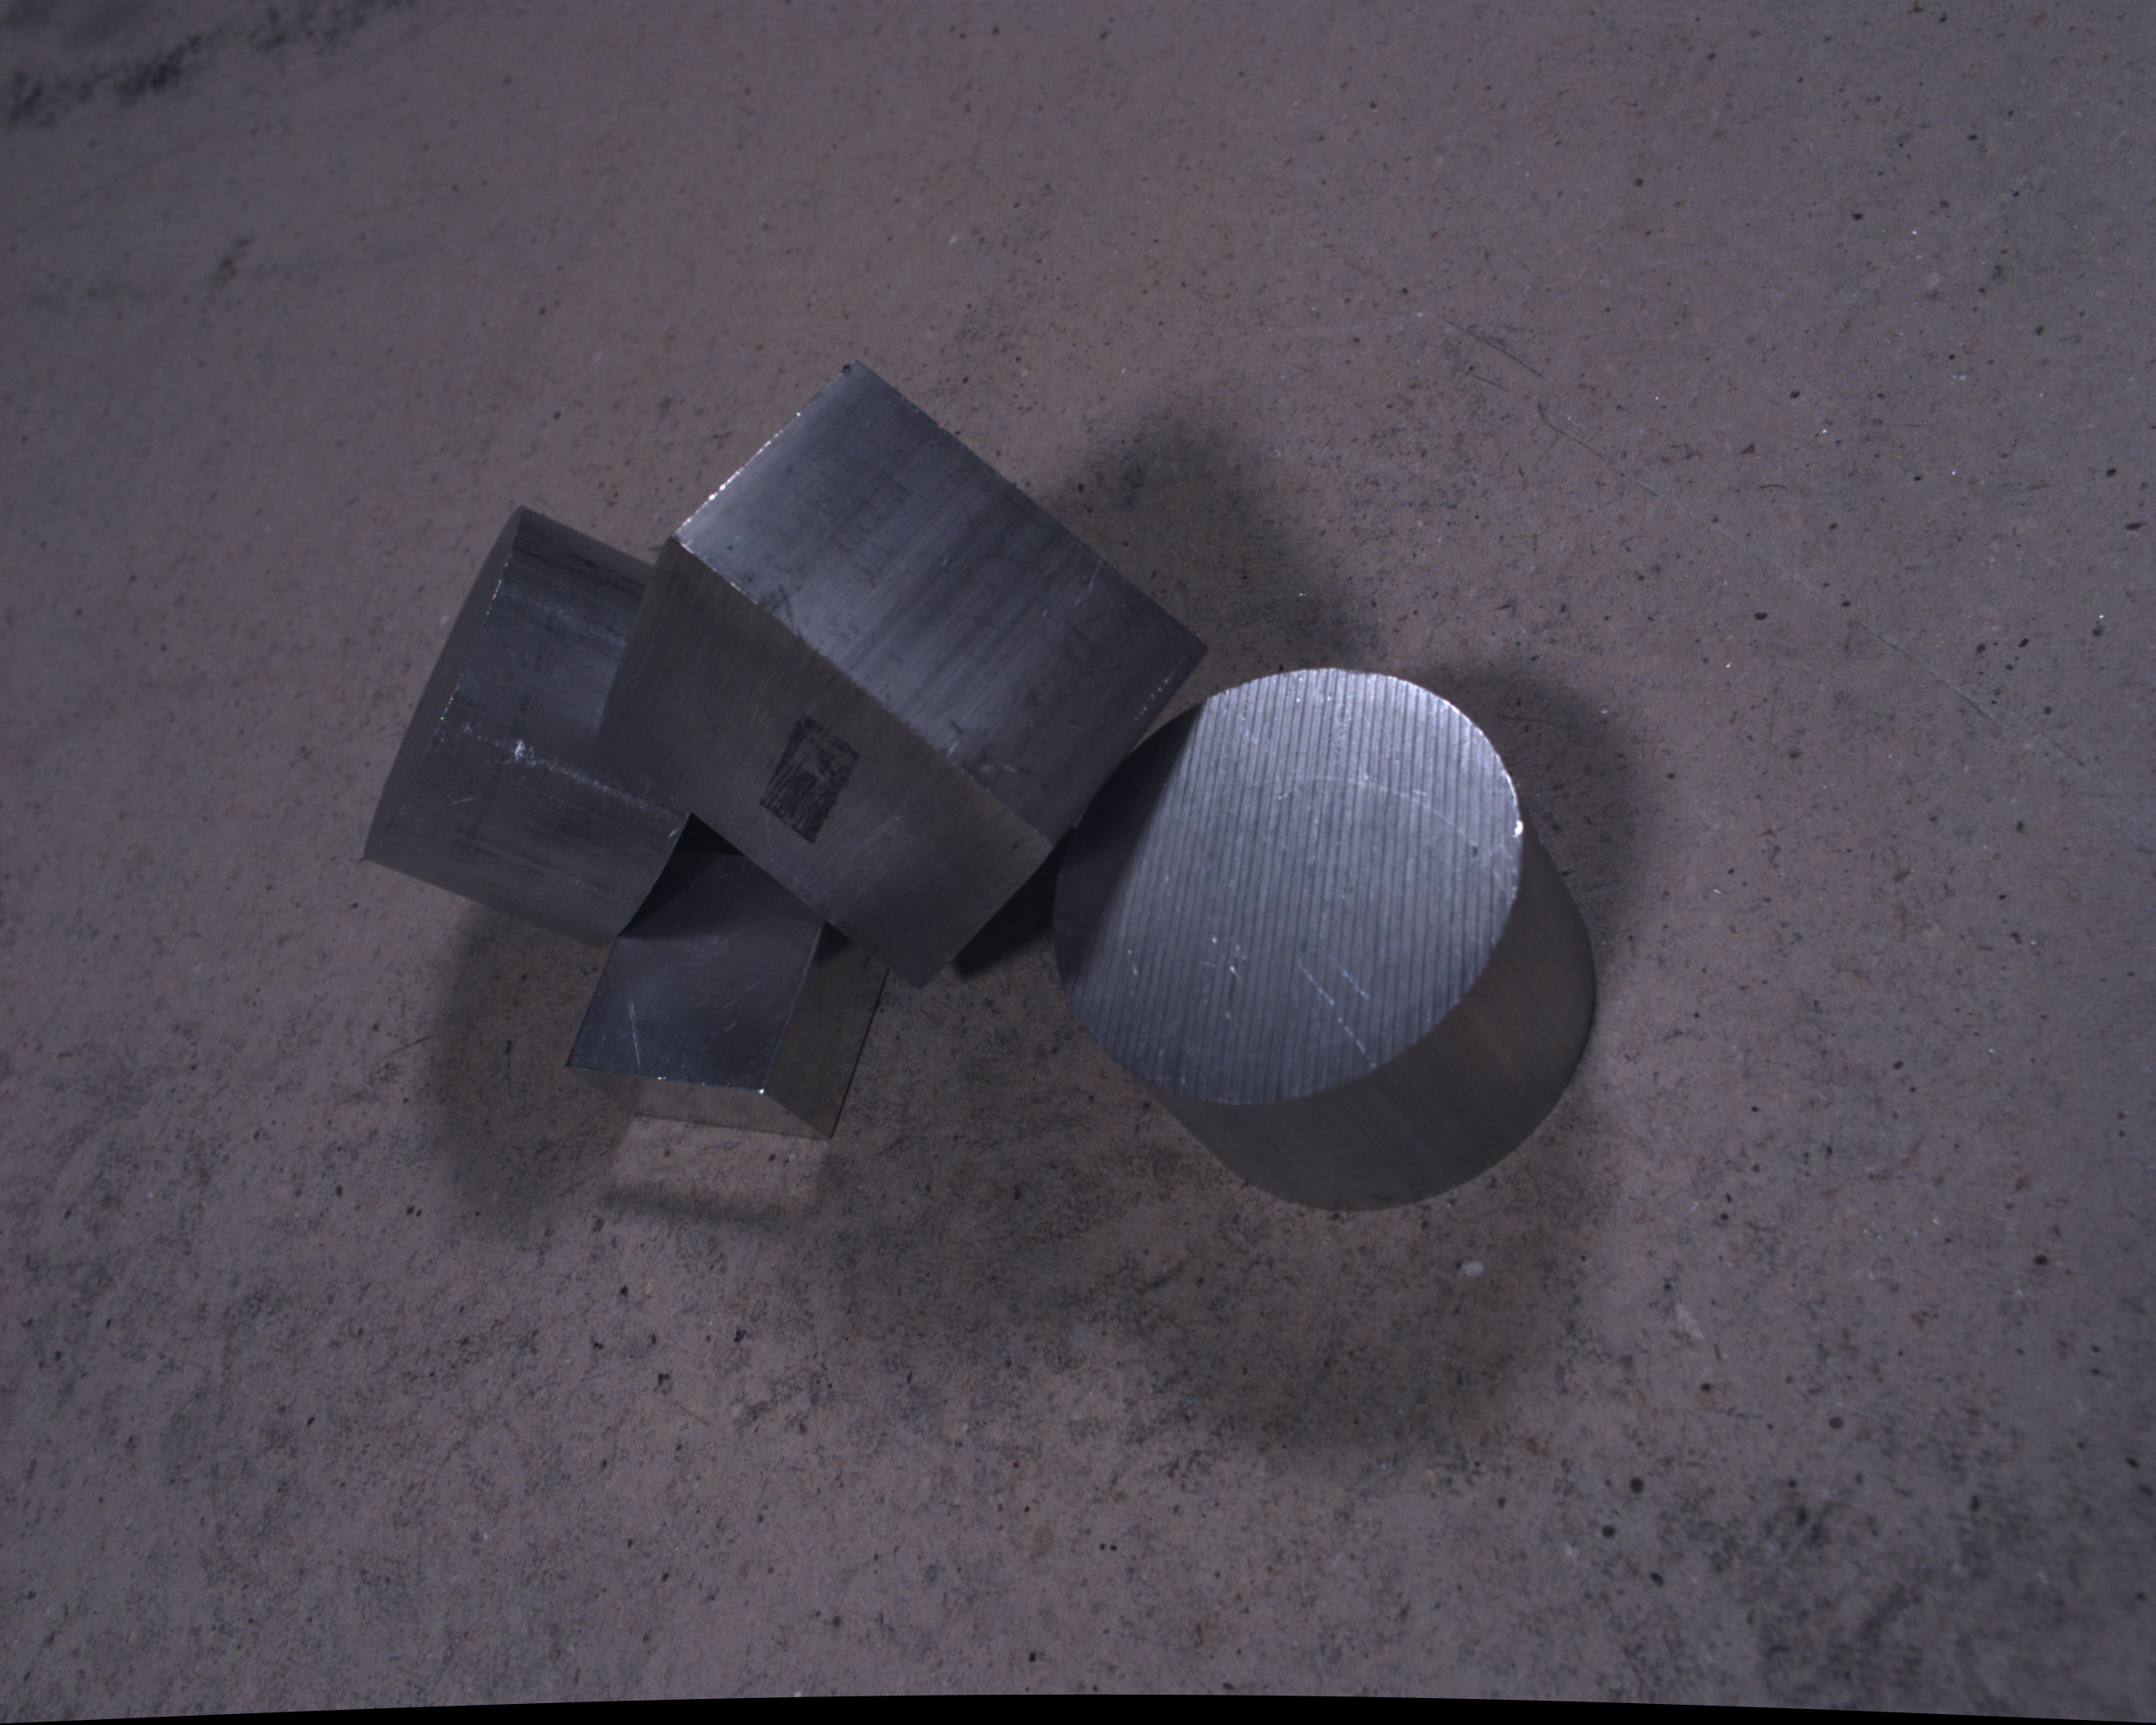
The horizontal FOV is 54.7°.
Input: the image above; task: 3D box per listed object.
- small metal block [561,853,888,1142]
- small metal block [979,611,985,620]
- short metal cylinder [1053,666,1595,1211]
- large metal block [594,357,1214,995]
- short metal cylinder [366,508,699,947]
[{"bbox_3d":[-0.069,0.026,0.423,0.050,0.025,0.050,3,63,29],"label":"small metal block"},{"bbox_3d":[-0.050,-0.052,0.462,0.050,0.025,0.050,-1,61,27],"label":"small metal block"},{"bbox_3d":[0.043,0.013,0.358,0.080,0.050,0.080,-13,56,20],"label":"short metal cylinder"},{"bbox_3d":[-0.035,-0.030,0.382,0.080,0.080,0.050,39,60,-3],"label":"large metal block"},{"bbox_3d":[-0.110,-0.028,0.439,0.080,0.050,0.080,-49,27,37],"label":"short metal cylinder"}]
